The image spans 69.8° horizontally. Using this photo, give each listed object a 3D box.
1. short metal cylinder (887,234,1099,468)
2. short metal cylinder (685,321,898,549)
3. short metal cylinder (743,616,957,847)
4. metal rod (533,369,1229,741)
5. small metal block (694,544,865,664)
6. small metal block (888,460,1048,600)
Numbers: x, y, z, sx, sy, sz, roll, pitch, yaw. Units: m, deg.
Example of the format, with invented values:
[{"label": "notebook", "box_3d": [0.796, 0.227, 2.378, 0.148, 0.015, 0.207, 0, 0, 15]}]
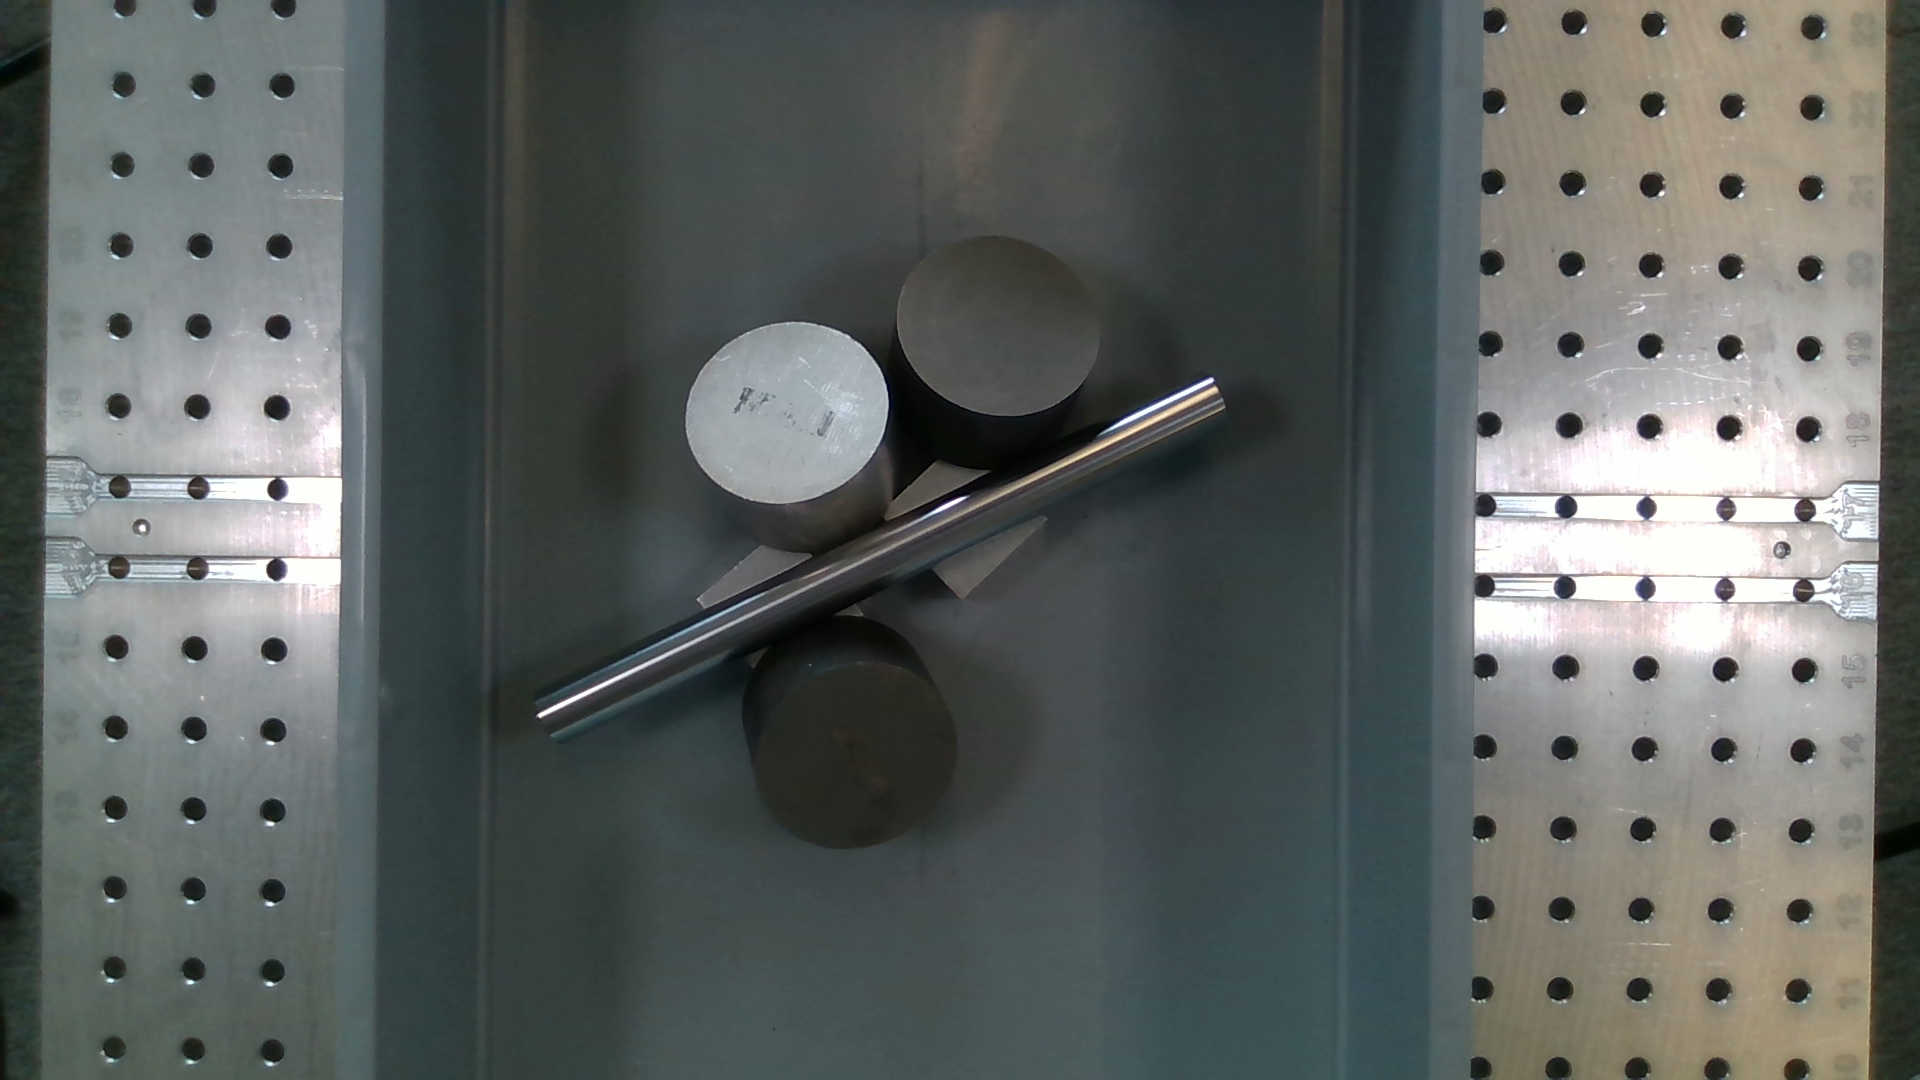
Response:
[{"label": "short metal cylinder", "box_3d": [0.012, -0.076, 0.559, 0.080, 0.050, 0.080, 3, 69, -8]}, {"label": "short metal cylinder", "box_3d": [-0.066, -0.041, 0.560, 0.080, 0.050, 0.080, -1, 68, 4]}, {"label": "short metal cylinder", "box_3d": [-0.046, 0.077, 0.562, 0.080, 0.050, 0.080, -5, 110, -14]}, {"label": "metal rod", "box_3d": [-0.032, 0.006, 0.561, 0.300, 0.025, 0.025, -25, 90, 0]}, {"label": "small metal block", "box_3d": [-0.076, 0.027, 0.586, 0.050, 0.025, 0.050, -40, 90, 0]}, {"label": "small metal block", "box_3d": [0.001, -0.010, 0.586, 0.050, 0.025, 0.050, -43, 90, 0]}]
